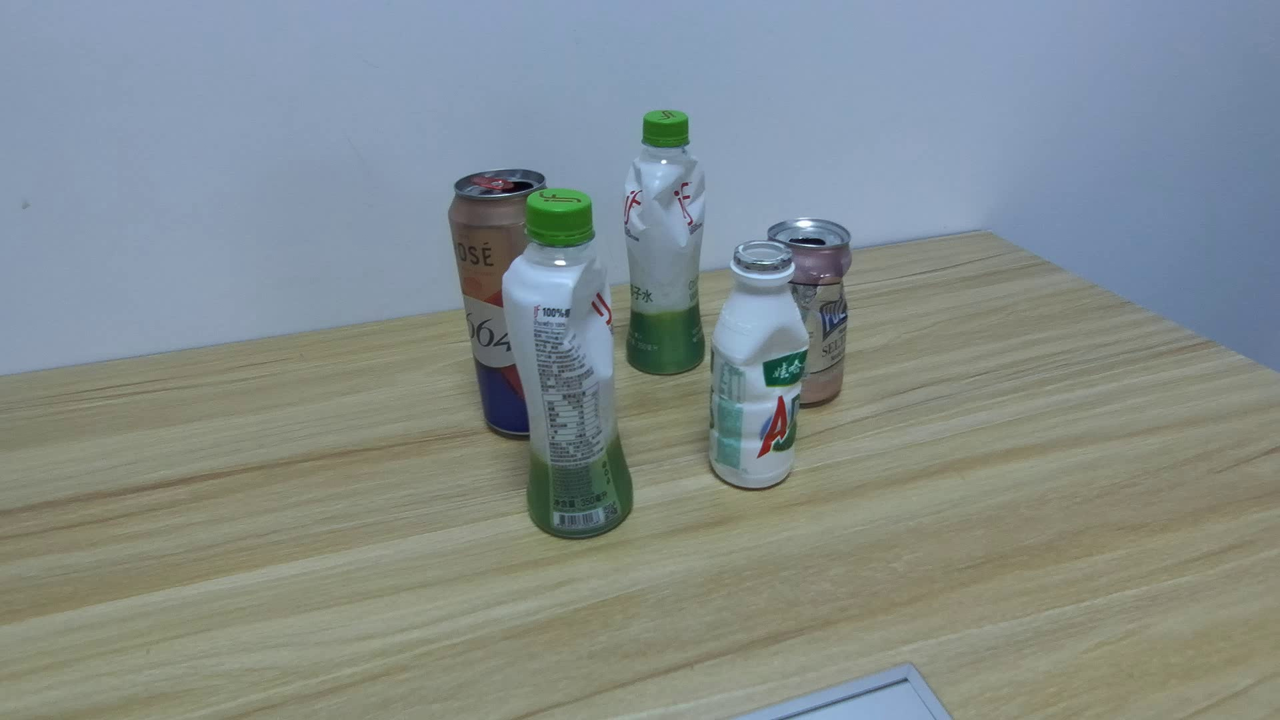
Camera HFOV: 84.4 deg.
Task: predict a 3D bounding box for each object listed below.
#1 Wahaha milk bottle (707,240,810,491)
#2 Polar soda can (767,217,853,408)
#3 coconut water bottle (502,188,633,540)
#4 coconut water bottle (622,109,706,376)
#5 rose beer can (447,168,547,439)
[{"bbox_3d":[0.067,0.005,0.407,0.056,0.148,0.056,0,32,1],"label":"Wahaha milk bottle"},{"bbox_3d":[0.113,-0.031,0.497,0.074,0.122,0.067,-10,29,-15],"label":"Polar soda can"},{"bbox_3d":[-0.038,0.004,0.376,0.069,0.187,0.069,-1,29,1],"label":"coconut water bottle"},{"bbox_3d":[0.019,-0.082,0.516,0.067,0.187,0.067,-1,28,1],"label":"coconut water bottle"},{"bbox_3d":[-0.080,-0.034,0.464,0.068,0.169,0.068,0,33,0],"label":"rose beer can"}]
